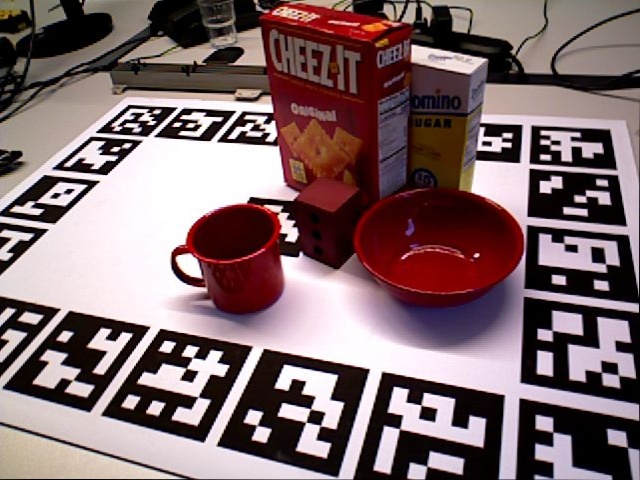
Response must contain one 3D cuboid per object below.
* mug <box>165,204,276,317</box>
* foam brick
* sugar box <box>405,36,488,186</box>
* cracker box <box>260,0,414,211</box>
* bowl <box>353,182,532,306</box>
[{"bbox_3d":[-0.099,0.020,0.532,0.117,0.083,0.091,0,32,12],"label":"mug"},{"bbox_3d":[0.007,-0.020,0.578,0.053,0.079,0.050,19,45,29],"label":"foam brick"},{"bbox_3d":[0.126,-0.122,0.593,0.093,0.180,0.044,24,48,32],"label":"sugar box"},{"bbox_3d":[0.015,-0.141,0.607,0.070,0.218,0.164,-32,46,-30],"label":"cracker box"},{"bbox_3d":[0.113,0.011,0.516,0.161,0.056,0.159,-5,40,4],"label":"bowl"}]
